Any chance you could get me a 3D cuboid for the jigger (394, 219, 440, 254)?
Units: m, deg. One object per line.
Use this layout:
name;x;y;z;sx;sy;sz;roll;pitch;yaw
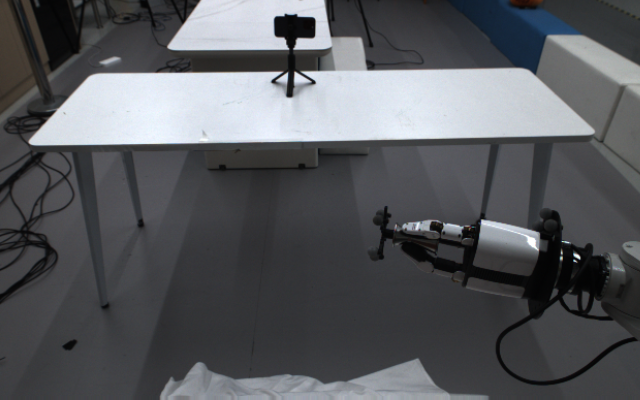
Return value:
jigger;0.155;0.055;0.751;0.071;0.043;0.043;8;35;13
